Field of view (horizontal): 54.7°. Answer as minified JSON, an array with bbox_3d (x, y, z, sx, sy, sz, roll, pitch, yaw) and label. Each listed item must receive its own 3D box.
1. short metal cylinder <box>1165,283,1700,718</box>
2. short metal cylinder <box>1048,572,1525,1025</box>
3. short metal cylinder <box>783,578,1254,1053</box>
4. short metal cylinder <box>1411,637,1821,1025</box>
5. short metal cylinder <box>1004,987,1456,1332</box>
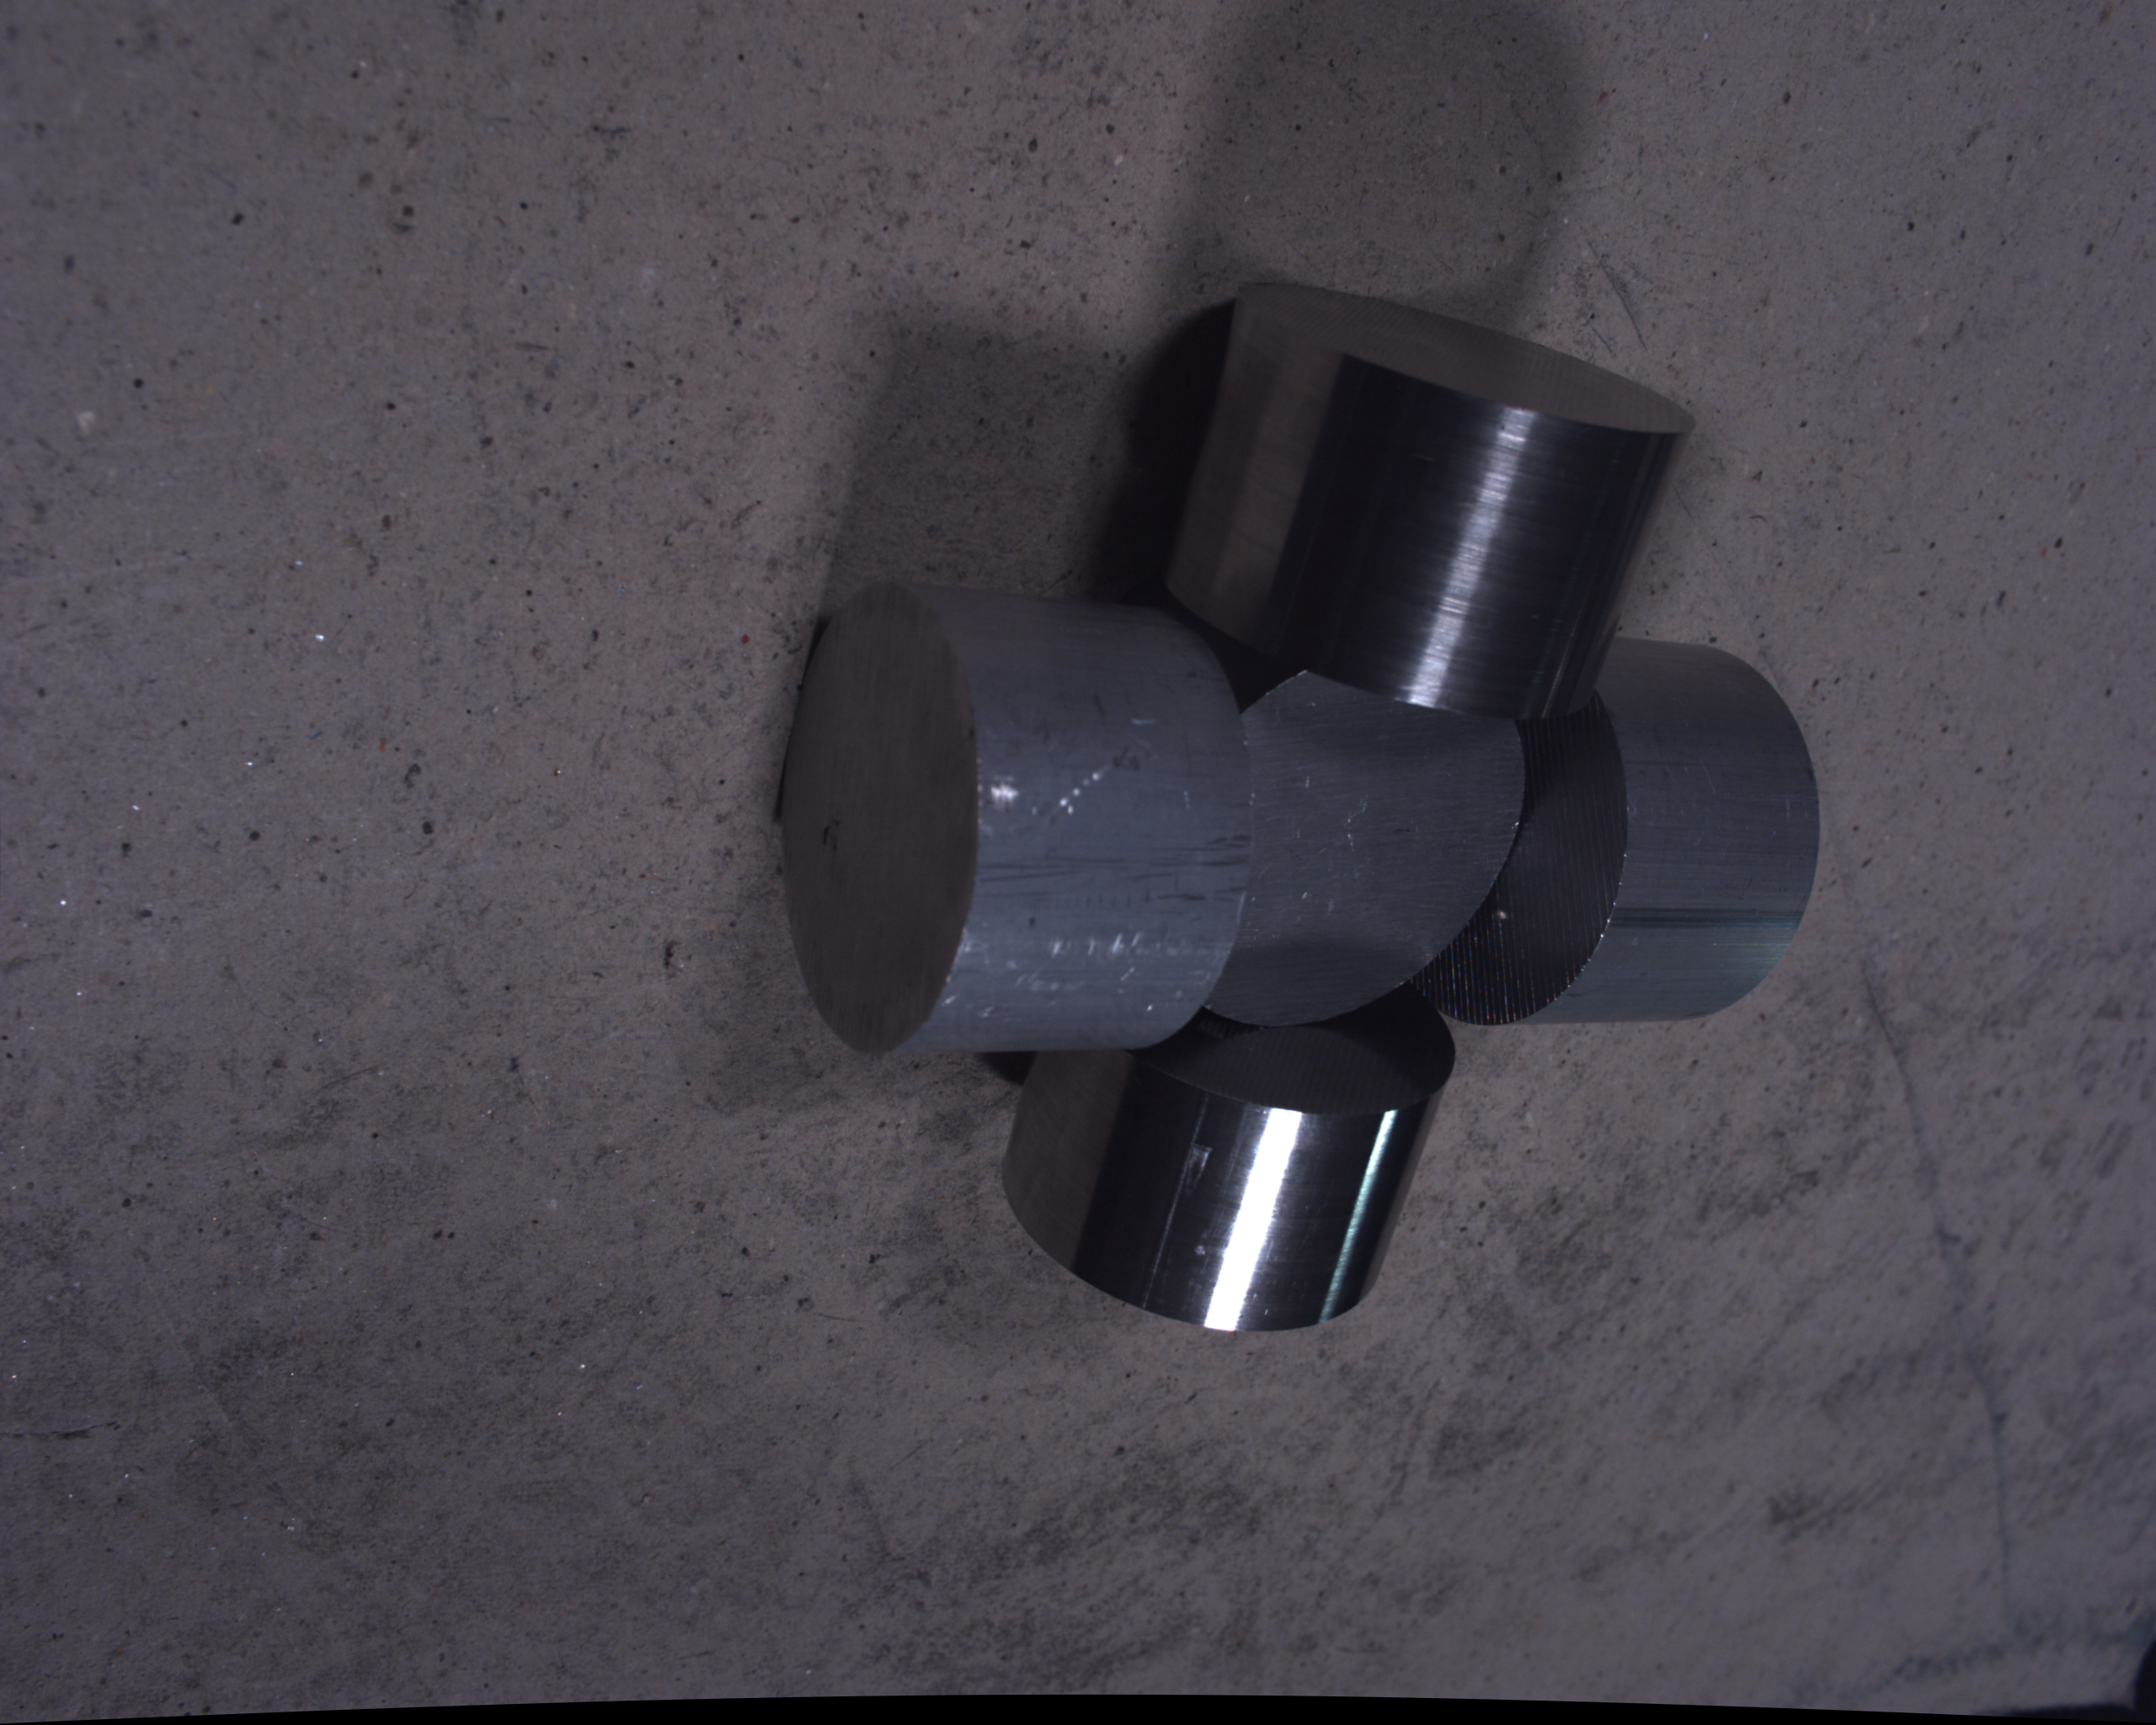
[{"bbox_3d":[0.061,-0.065,0.366,0.081,0.080,0.050,1,118,-30],"label":"short metal cylinder"},{"bbox_3d":[0.039,-0.015,0.406,0.081,0.050,0.079,-14,125,-21],"label":"short metal cylinder"},{"bbox_3d":[-0.013,-0.007,0.363,0.050,0.080,0.079,2,118,-30],"label":"short metal cylinder"},{"bbox_3d":[0.102,-0.007,0.427,0.050,0.080,0.079,2,118,-30],"label":"short metal cylinder"},{"bbox_3d":[0.030,0.049,0.421,0.081,0.080,0.050,0,118,-29],"label":"short metal cylinder"}]
